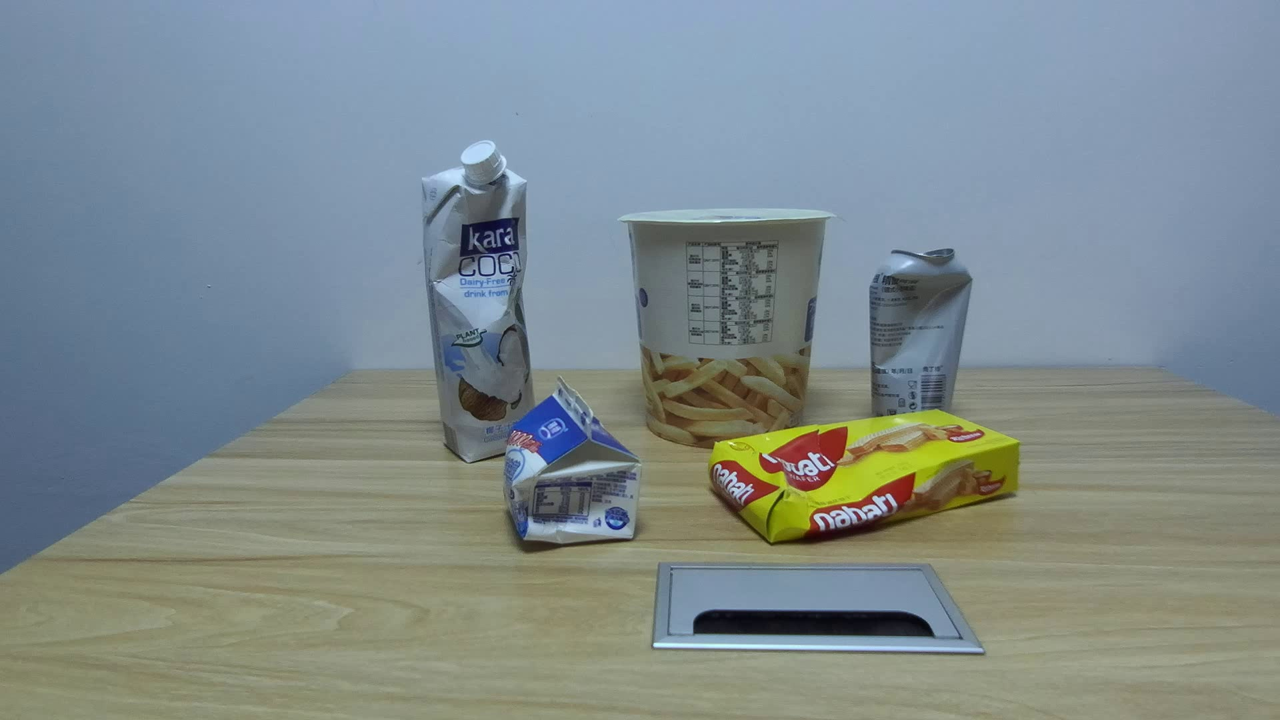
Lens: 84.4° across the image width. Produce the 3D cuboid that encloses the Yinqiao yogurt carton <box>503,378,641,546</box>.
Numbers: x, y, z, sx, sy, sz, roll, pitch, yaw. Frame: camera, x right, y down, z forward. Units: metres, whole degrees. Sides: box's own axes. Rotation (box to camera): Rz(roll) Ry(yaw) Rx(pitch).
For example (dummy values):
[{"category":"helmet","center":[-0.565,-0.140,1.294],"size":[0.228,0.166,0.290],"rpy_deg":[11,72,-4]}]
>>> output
[{"category":"Yinqiao yogurt carton","center":[-0.048,0.065,0.462],"size":[0.080,0.097,0.074],"rpy_deg":[0,14,-22]}]

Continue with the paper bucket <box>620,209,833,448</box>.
[{"category":"paper bucket","center":[0.077,-0.035,0.646],"size":[0.198,0.194,0.198],"rpy_deg":[-1,14,1]}]

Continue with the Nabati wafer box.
[{"category":"Nabati wafer box","center":[0.160,0.080,0.506],"size":[0.205,0.042,0.106],"rpy_deg":[-6,13,-16]}]

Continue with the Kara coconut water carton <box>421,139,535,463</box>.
[{"category":"Kara coconut water carton","center":[-0.134,-0.047,0.590],"size":[0.083,0.255,0.078],"rpy_deg":[-6,16,-20]}]
